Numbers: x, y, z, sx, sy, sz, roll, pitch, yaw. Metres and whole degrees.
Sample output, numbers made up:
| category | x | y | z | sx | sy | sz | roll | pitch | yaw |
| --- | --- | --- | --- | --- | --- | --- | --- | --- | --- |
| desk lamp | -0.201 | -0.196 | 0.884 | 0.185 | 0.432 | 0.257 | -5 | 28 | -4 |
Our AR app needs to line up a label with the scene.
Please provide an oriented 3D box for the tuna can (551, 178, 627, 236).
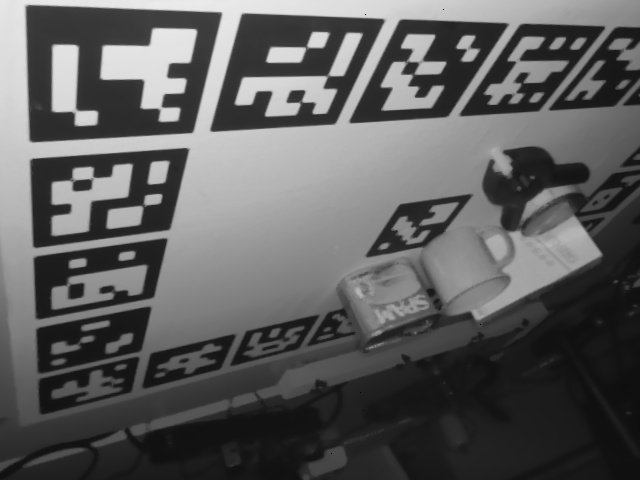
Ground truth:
| category | x | y | z | sx | sy | sz | roll | pitch | yaw |
| --- | --- | --- | --- | --- | --- | --- | --- | --- | --- |
| tuna can | 0.306 | -0.045 | 0.801 | 0.086 | 0.034 | 0.085 | -19 | 147 | -12 |

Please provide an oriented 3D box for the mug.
| category | x | y | z | sx | sy | sz | roll | pitch | yaw |
| --- | --- | --- | --- | --- | --- | --- | --- | --- | --- |
| mug | 0.210 | 0.031 | 0.795 | 0.094 | 0.081 | 0.115 | 14 | 130 | -45 |

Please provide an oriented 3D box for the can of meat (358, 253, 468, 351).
| category | x | y | z | sx | sy | sz | roll | pitch | yaw |
| --- | --- | --- | --- | --- | --- | --- | --- | --- | --- |
| can of meat | 0.103 | 0.068 | 0.789 | 0.103 | 0.084 | 0.057 | -11 | 148 | -19 |

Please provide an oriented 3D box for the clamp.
| category | x | y | z | sx | sy | sz | roll | pitch | yaw |
| --- | --- | --- | --- | --- | --- | --- | --- | --- | --- |
| clamp | 0.250 | -0.074 | 0.728 | 0.120 | 0.036 | 0.167 | -34 | 144 | 22 |

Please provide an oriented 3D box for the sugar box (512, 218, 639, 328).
| category | x | y | z | sx | sy | sz | roll | pitch | yaw |
| --- | --- | --- | --- | --- | --- | --- | --- | --- | --- |
| sugar box | 0.288 | 0.027 | 0.850 | 0.176 | 0.093 | 0.045 | -27 | 150 | 6 |
